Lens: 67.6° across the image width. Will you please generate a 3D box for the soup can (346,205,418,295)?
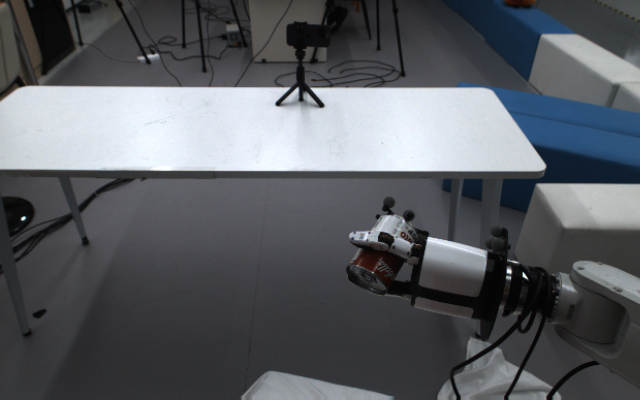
[{"bbox_3d":[0.093,0.077,0.706,0.067,0.067,0.101,22,60,27],"label":"soup can"}]
